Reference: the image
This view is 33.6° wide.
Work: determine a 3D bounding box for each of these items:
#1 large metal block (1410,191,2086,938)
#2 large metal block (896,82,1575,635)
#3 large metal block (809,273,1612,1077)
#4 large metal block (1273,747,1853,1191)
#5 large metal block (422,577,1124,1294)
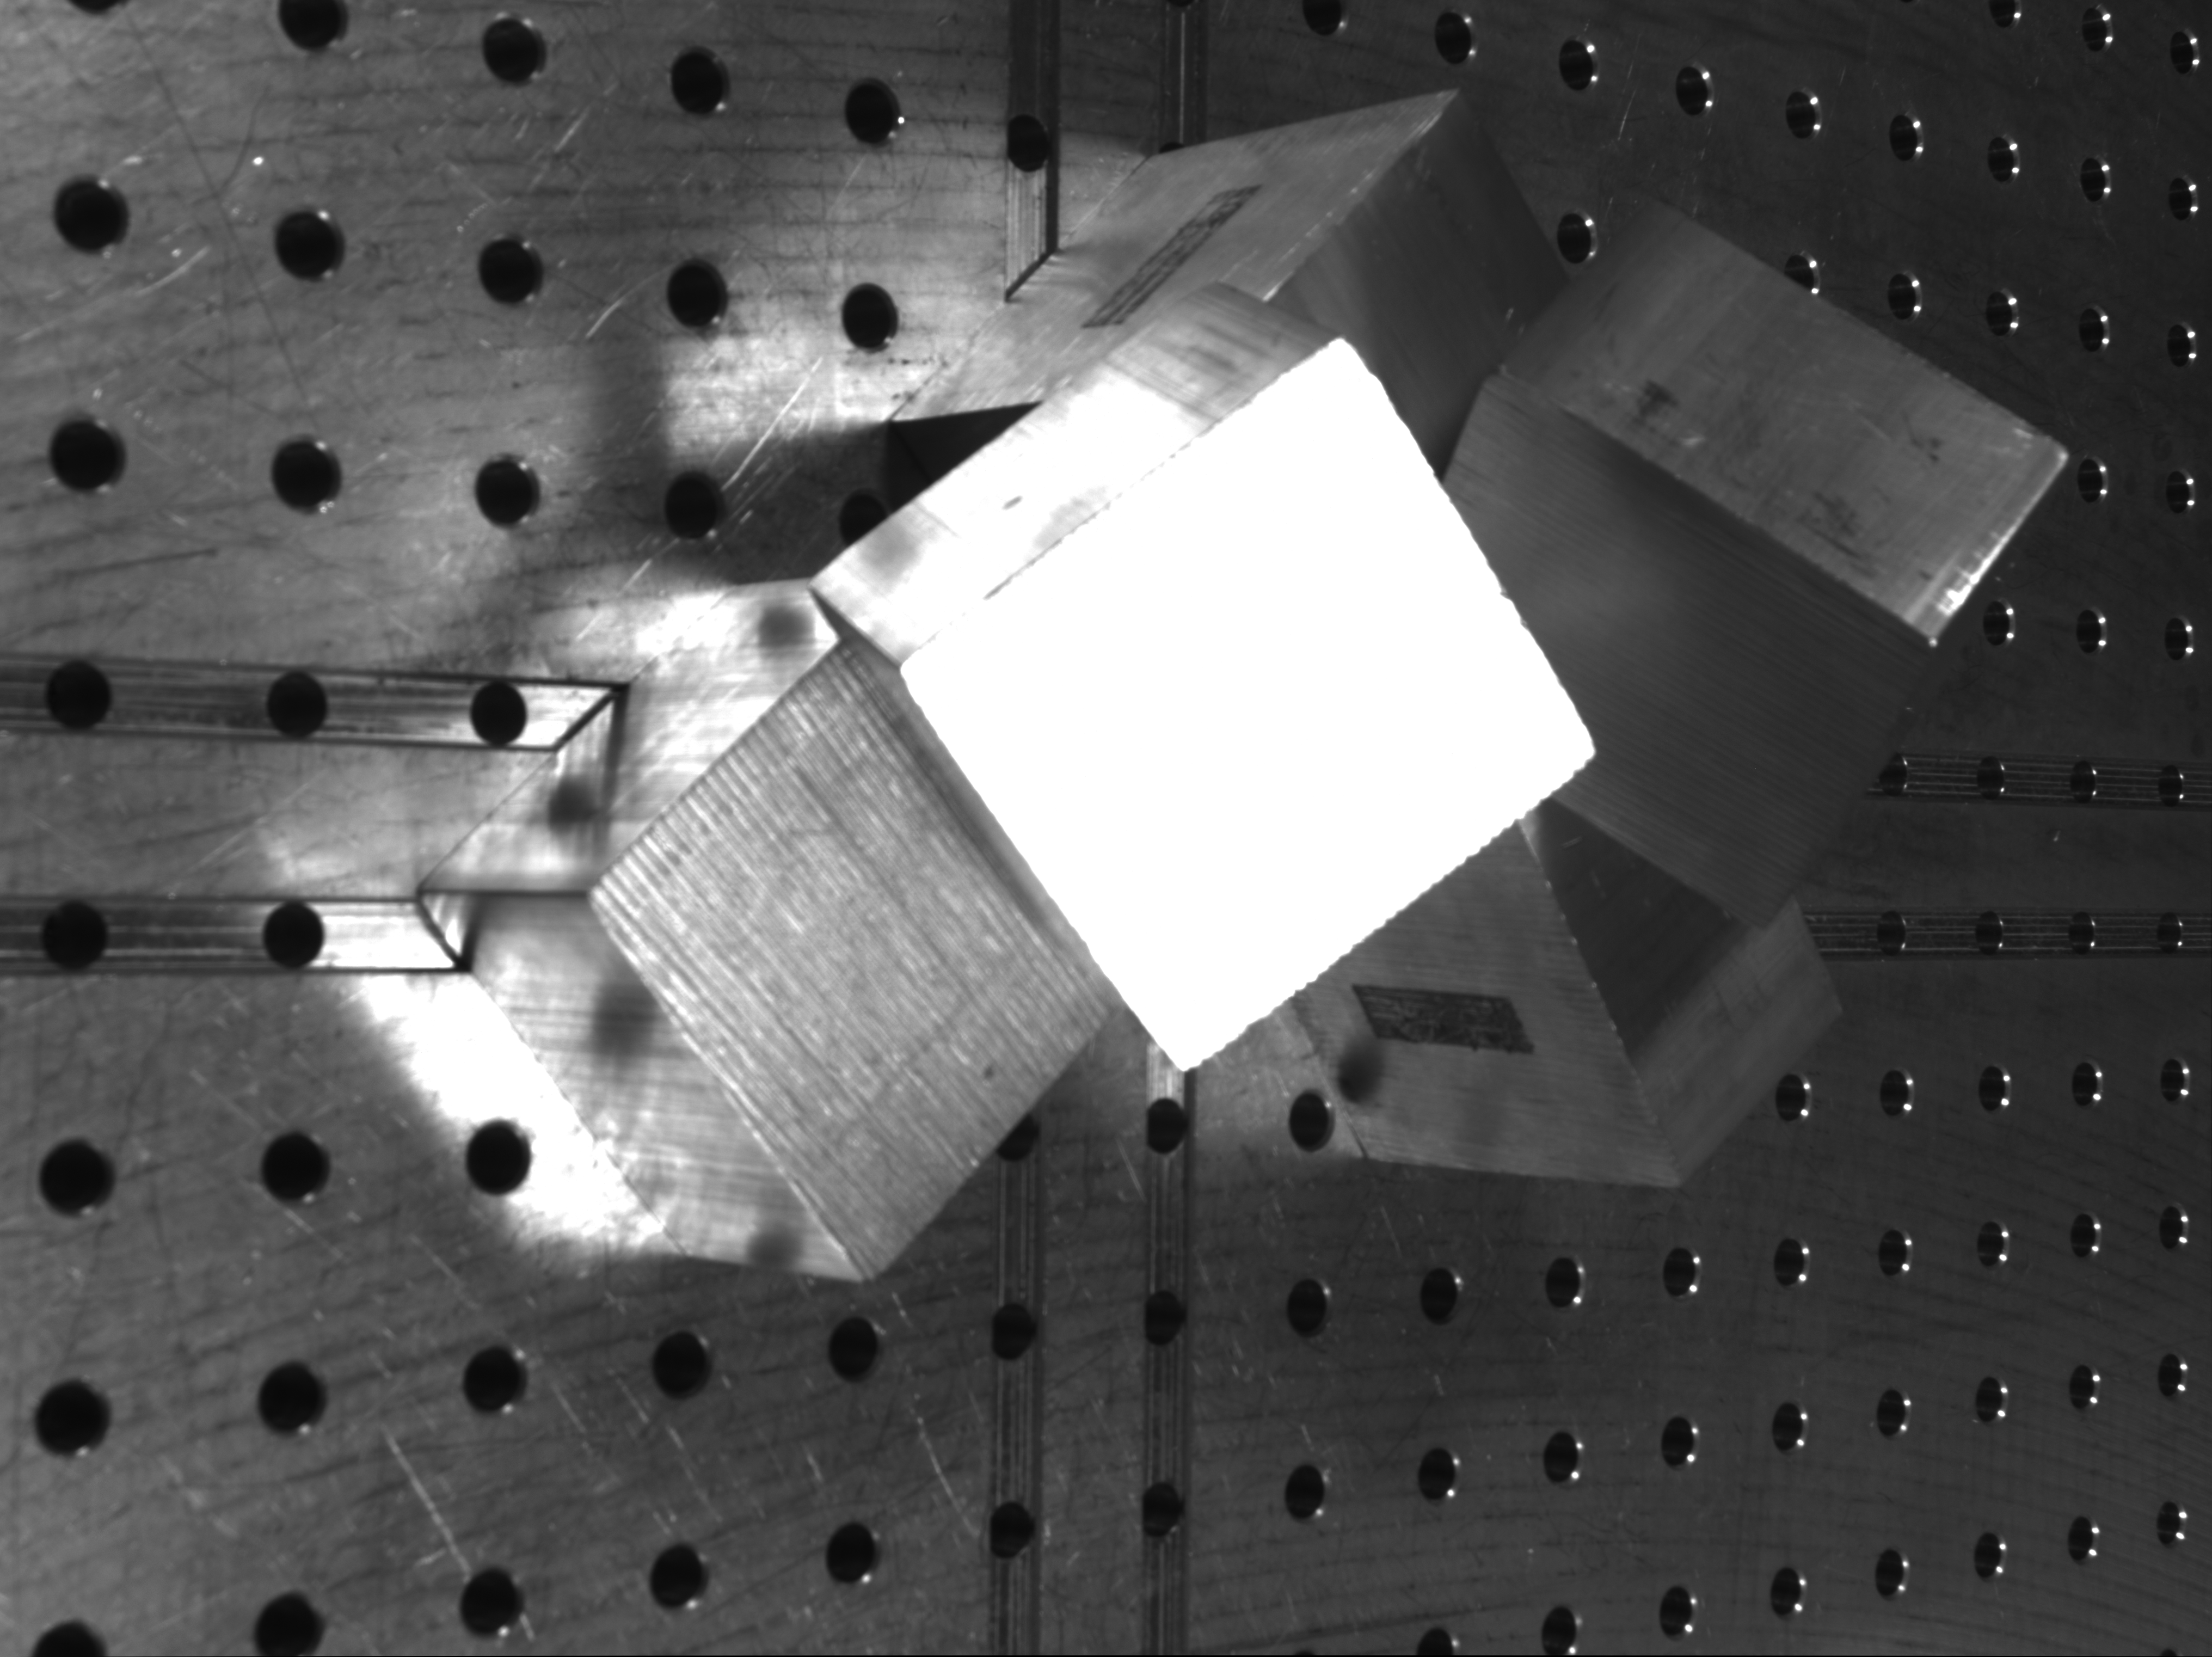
[{"bbox_3d":[0.099,-0.042,0.595,0.080,0.080,0.050,34,55,12],"label":"large metal block"},{"bbox_3d":[0.025,-0.077,0.624,0.080,0.080,0.050,-49,119,-29],"label":"large metal block"},{"bbox_3d":[0.016,-0.024,0.552,0.080,0.050,0.080,-38,115,-6],"label":"large metal block"},{"bbox_3d":[0.077,0.016,0.667,0.050,0.080,0.080,-41,115,-32],"label":"large metal block"},{"bbox_3d":[-0.047,0.015,0.585,0.080,0.050,0.080,-47,118,-30],"label":"large metal block"}]
